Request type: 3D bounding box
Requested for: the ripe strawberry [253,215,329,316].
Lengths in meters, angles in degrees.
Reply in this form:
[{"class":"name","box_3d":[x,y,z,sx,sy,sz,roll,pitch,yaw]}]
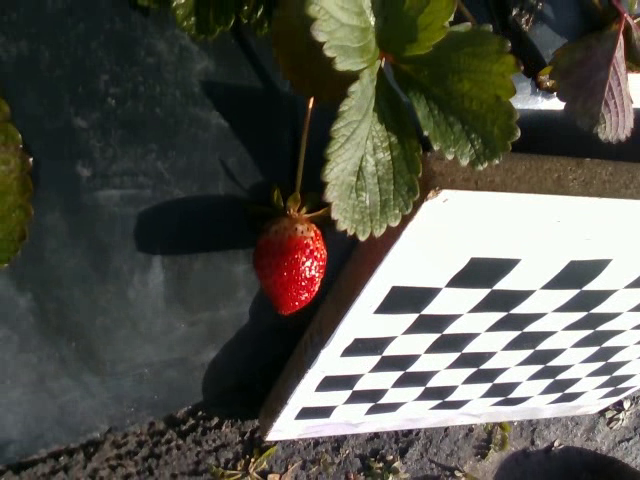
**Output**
[{"class":"ripe strawberry","box_3d":[-0.010,0.010,0.200,0.034,0.038,0.033,1,3,-18]}]
